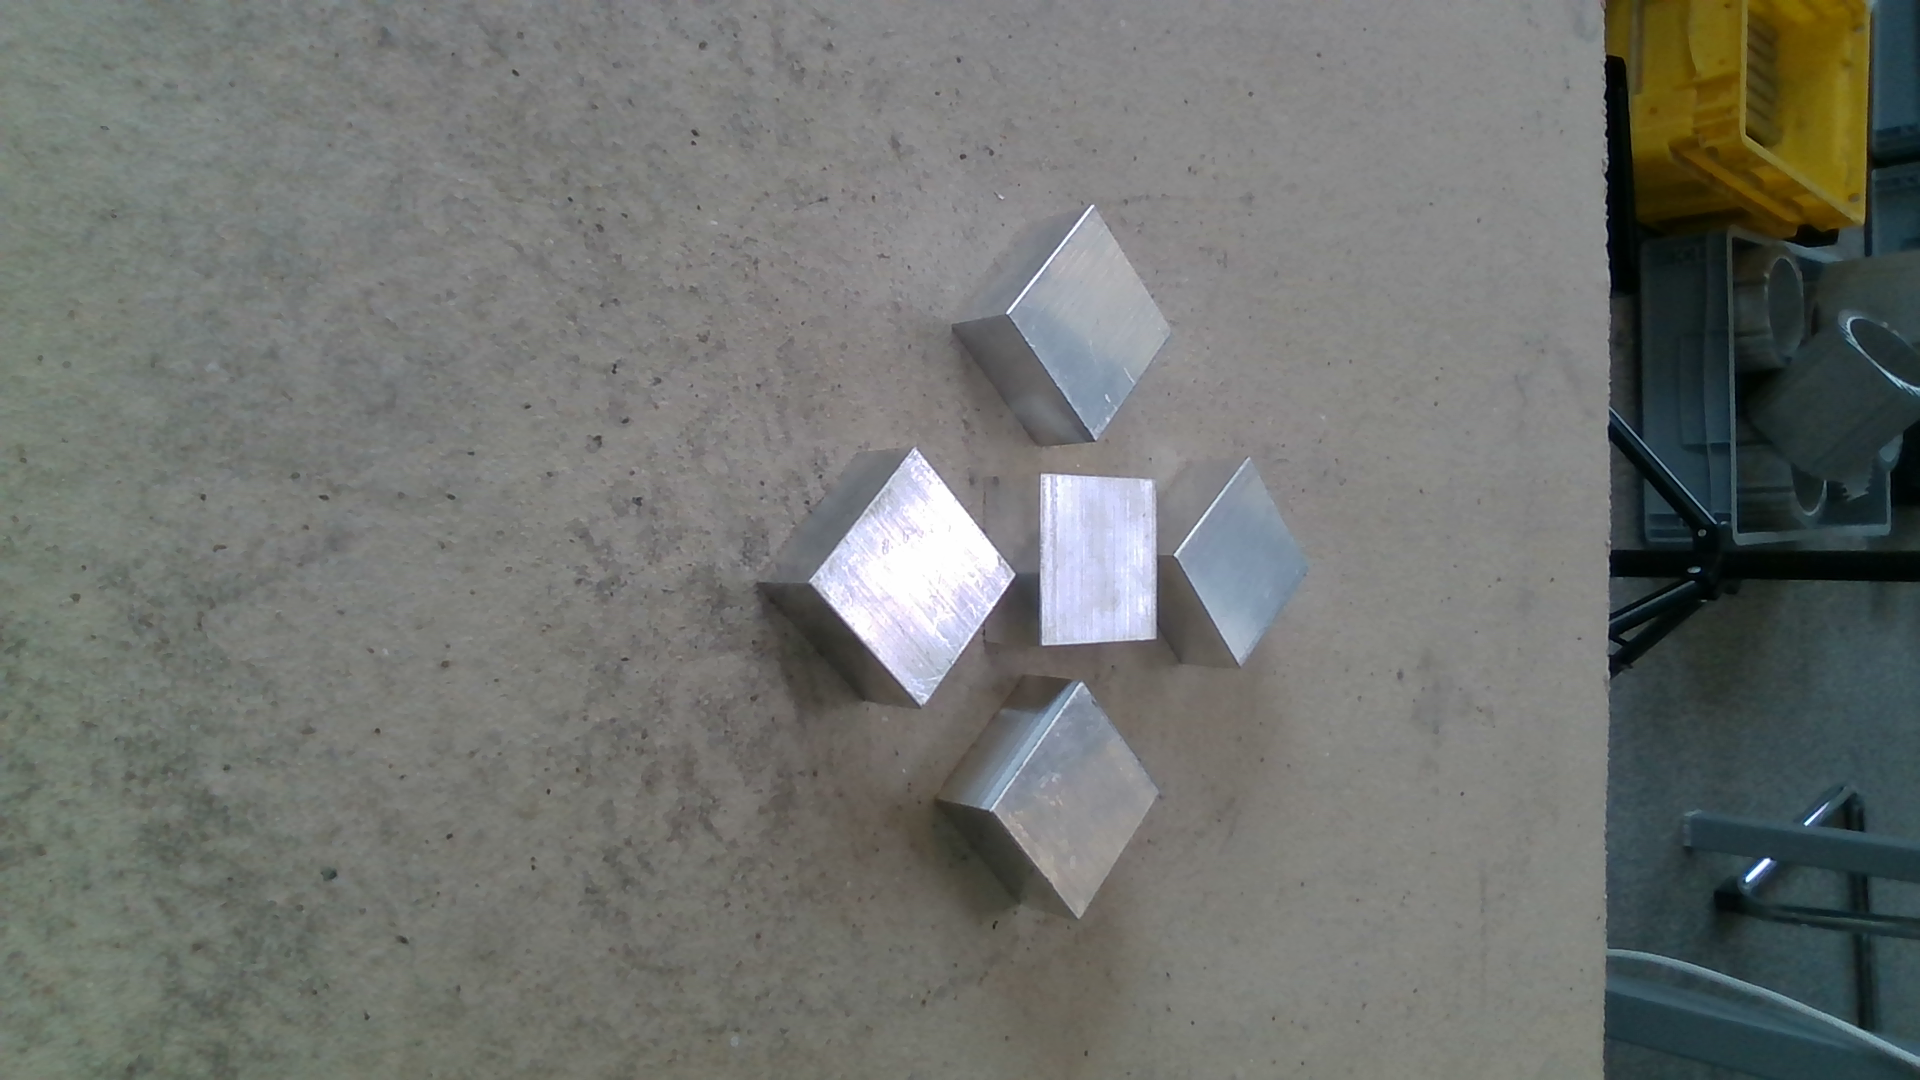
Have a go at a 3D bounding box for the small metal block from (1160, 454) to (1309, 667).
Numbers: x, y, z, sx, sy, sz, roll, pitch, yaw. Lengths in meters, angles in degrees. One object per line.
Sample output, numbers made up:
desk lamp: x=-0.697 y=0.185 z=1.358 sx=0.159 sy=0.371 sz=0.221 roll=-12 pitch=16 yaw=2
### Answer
small metal block: x=0.086 y=0.007 z=0.463 sx=0.050 sy=0.025 sz=0.050 roll=-49 pitch=120 yaw=-30

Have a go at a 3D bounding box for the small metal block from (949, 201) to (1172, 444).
small metal block: x=0.032 y=-0.065 z=0.418 sx=0.050 sy=0.025 sz=0.050 roll=52 pitch=60 yaw=-29

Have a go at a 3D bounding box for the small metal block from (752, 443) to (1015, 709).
small metal block: x=-0.020 y=0.010 z=0.375 sx=0.050 sy=0.025 sz=0.050 roll=52 pitch=60 yaw=-28

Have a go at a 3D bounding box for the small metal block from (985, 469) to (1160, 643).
small metal block: x=0.035 y=0.005 z=0.420 sx=0.050 sy=0.025 sz=0.050 roll=0 pitch=89 yaw=-40

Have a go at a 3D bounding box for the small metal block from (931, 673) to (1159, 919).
small metal block: x=0.027 y=0.076 z=0.415 sx=0.050 sy=0.025 sz=0.050 roll=-51 pitch=120 yaw=-28
